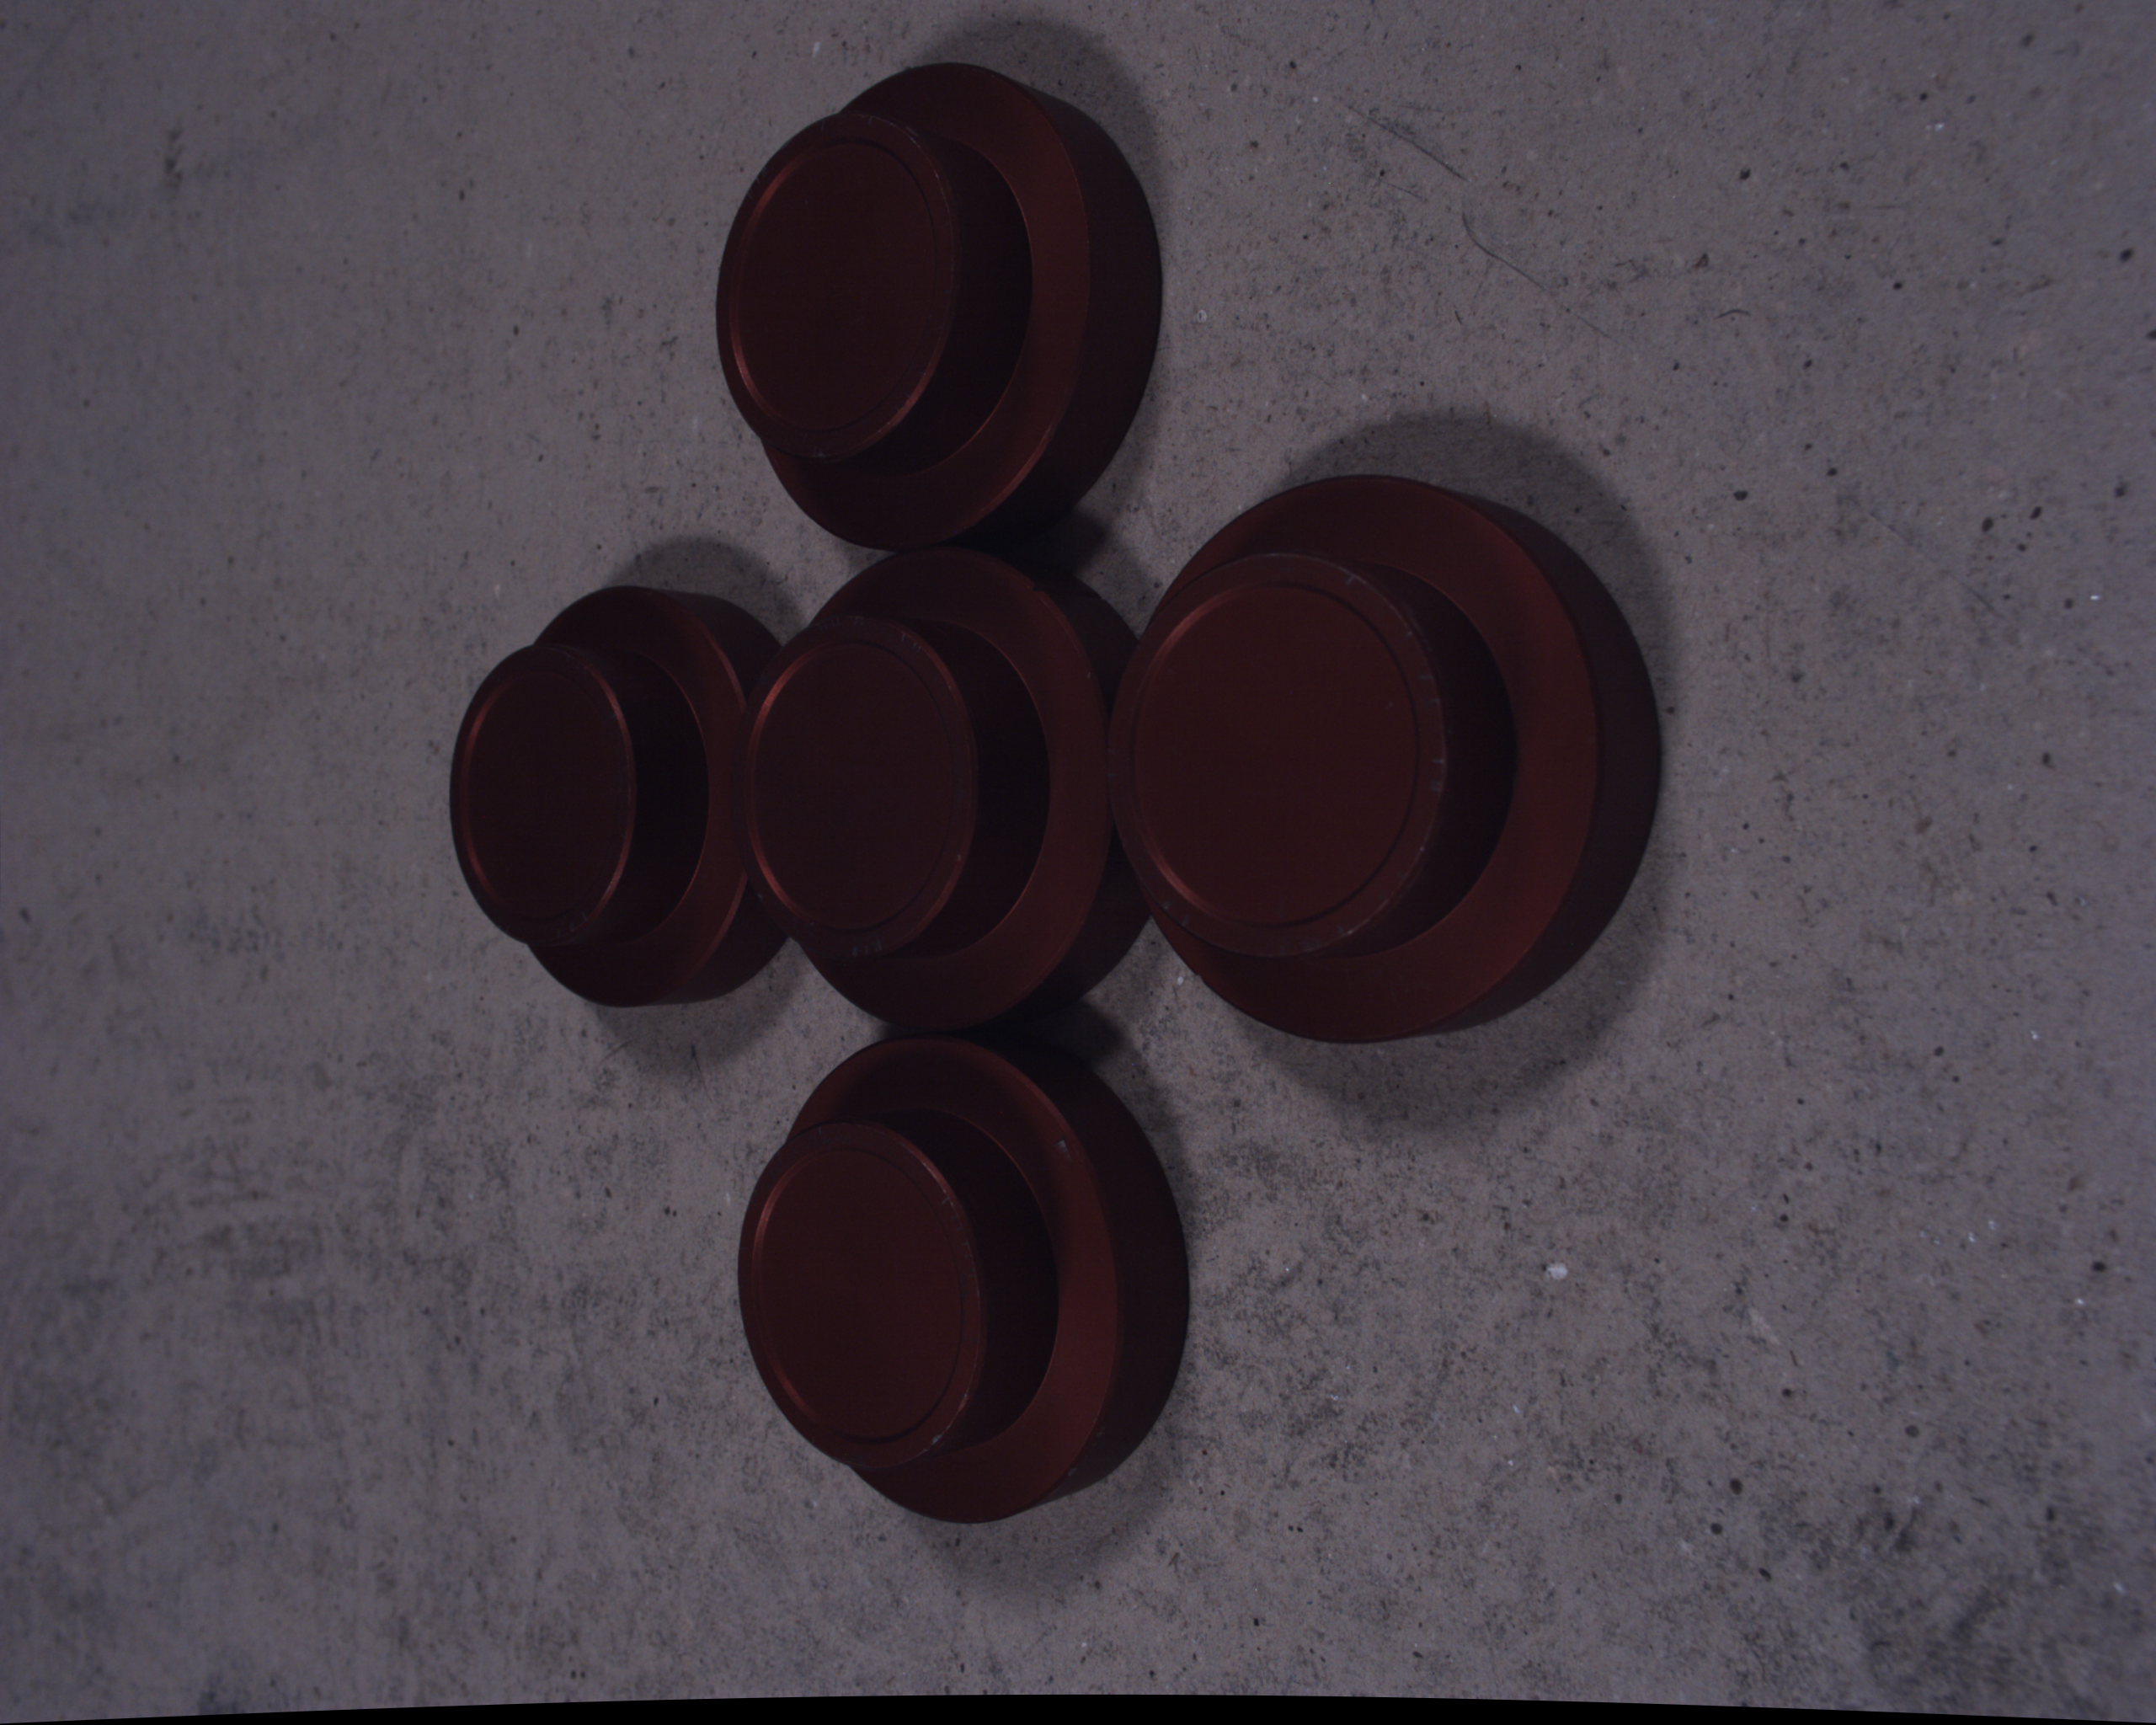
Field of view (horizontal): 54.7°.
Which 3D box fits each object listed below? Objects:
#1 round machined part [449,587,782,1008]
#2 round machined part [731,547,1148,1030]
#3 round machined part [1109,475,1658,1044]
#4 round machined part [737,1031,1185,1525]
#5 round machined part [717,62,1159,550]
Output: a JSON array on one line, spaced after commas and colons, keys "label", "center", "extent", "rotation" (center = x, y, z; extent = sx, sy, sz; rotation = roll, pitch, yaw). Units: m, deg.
[{"label": "round machined part", "center": [-0.108, -0.015, 0.481], "extent": [0.098, 0.042, 0.097], "rotation": [0, 90, 39]}, {"label": "round machined part", "center": [-0.032, -0.015, 0.420], "extent": [0.098, 0.042, 0.097], "rotation": [0, 90, 39]}, {"label": "round machined part", "center": [0.044, -0.018, 0.357], "extent": [0.098, 0.042, 0.097], "rotation": [0, 90, 39]}, {"label": "round machined part", "center": [-0.030, 0.083, 0.418], "extent": [0.098, 0.042, 0.097], "rotation": [0, 90, 39]}, {"label": "round machined part", "center": [-0.035, -0.112, 0.422], "extent": [0.098, 0.042, 0.097], "rotation": [0, 90, 39]}]
